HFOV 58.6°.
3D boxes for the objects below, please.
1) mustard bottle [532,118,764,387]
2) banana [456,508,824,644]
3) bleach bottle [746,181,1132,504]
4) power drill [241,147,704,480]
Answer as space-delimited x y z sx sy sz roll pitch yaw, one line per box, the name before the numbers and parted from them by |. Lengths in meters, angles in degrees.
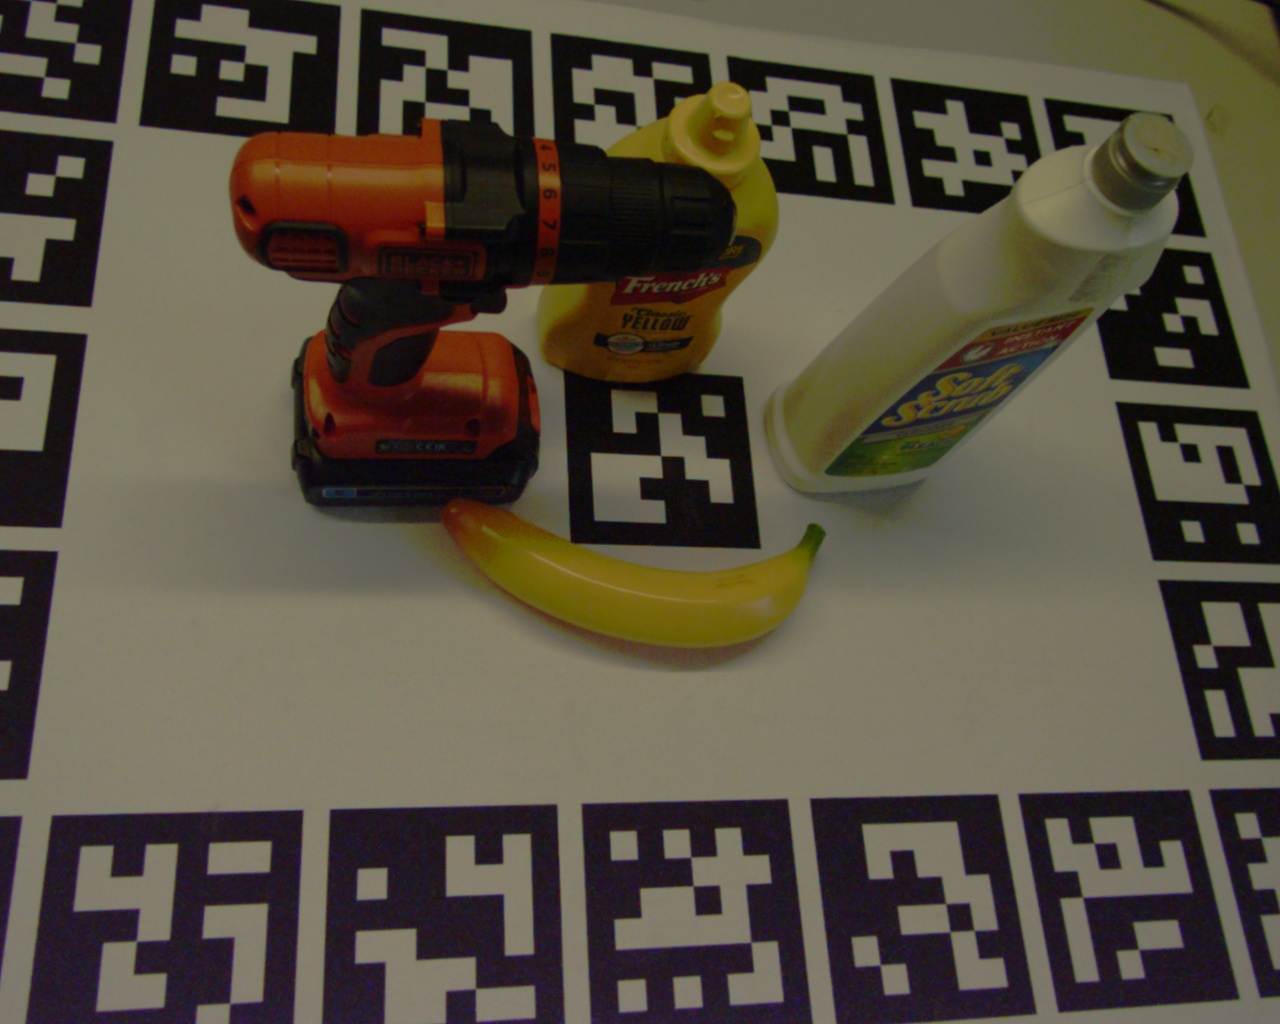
mustard bottle | 0.009 -0.129 0.573 0.095 0.192 0.058 3 69 -16
banana | 0.003 0.031 0.591 0.196 0.039 0.074 4 73 -11
bleach bottle | 0.143 -0.078 0.564 0.102 0.252 0.068 -6 73 -18
power drill | -0.081 -0.082 0.511 0.183 0.188 0.057 0 63 -18
